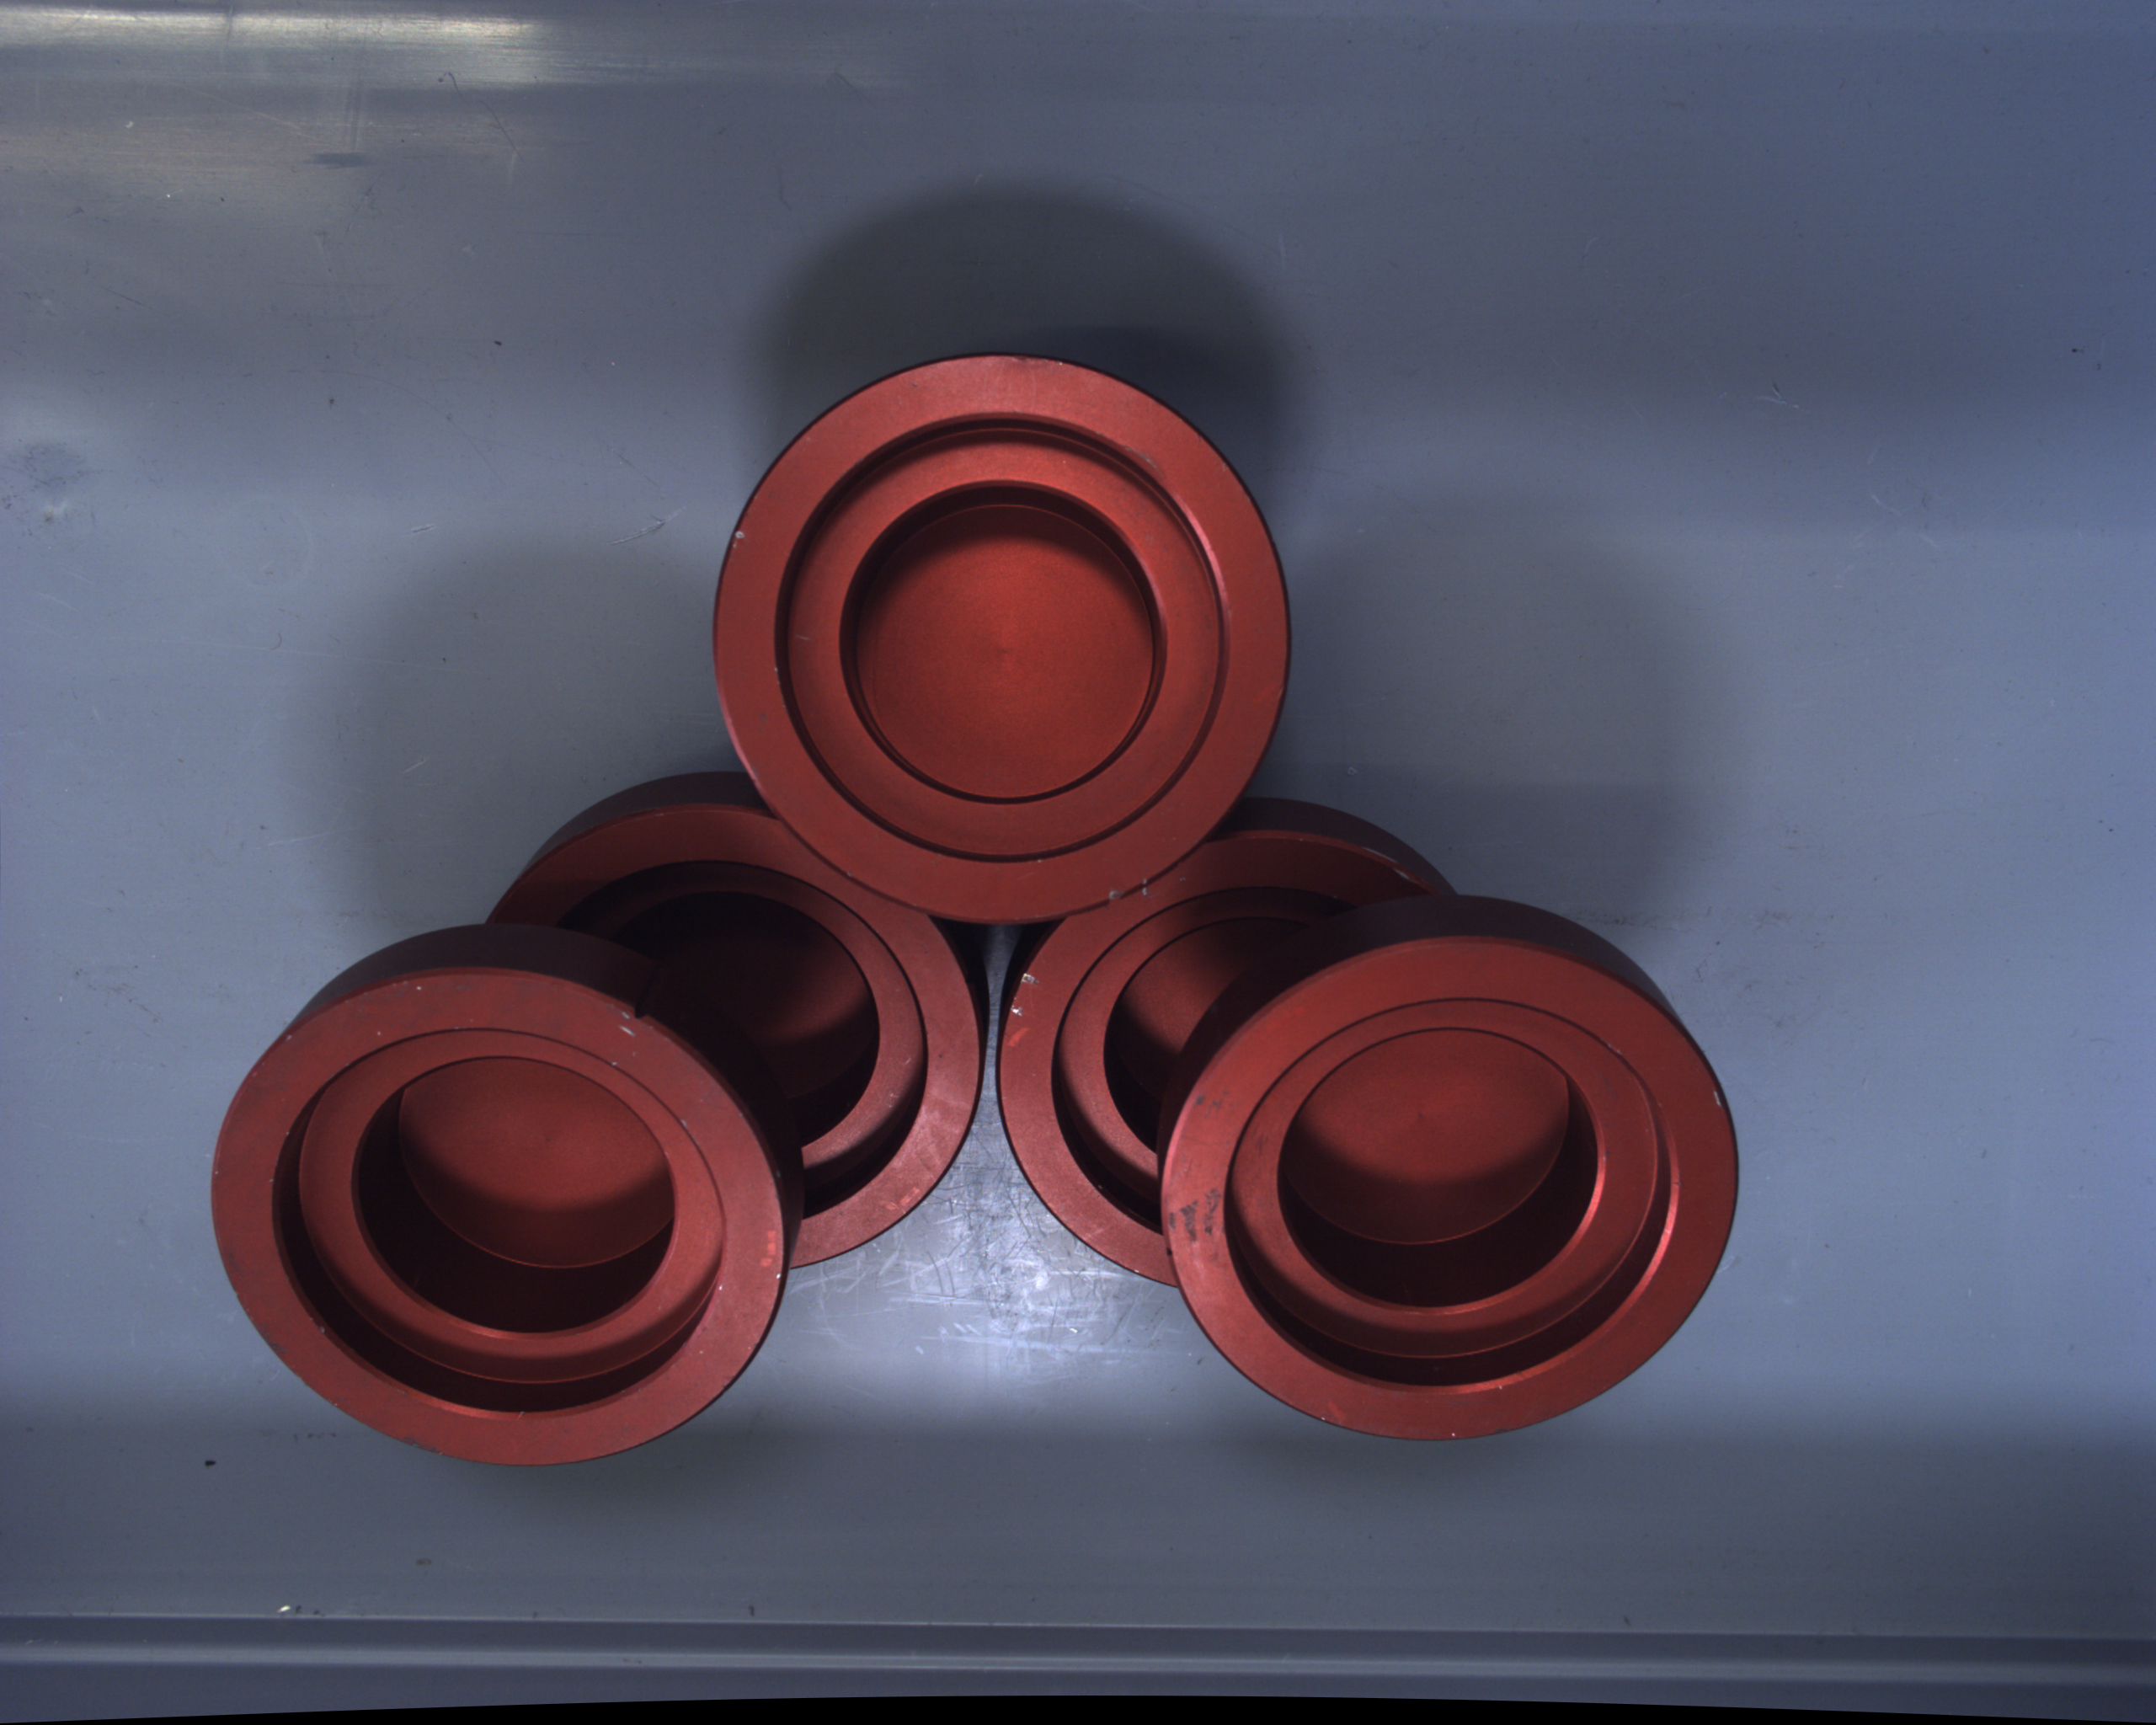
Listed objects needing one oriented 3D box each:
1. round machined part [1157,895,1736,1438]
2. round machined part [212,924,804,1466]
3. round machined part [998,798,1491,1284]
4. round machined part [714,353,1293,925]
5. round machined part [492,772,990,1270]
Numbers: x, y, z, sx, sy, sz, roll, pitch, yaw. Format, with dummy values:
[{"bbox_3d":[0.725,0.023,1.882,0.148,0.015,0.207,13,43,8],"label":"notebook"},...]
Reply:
[{"bbox_3d":[0.063,0.051,0.376,0.099,0.042,0.097,0,110,0],"label":"round machined part"},{"bbox_3d":[-0.098,0.056,0.376,0.099,0.042,0.097,0,110,0],"label":"round machined part"},{"bbox_3d":[0.034,0.033,0.413,0.099,0.042,0.097,0,110,0],"label":"round machined part"},{"bbox_3d":[-0.013,-0.039,0.376,0.099,0.042,0.097,0,92,-2],"label":"round machined part"},{"bbox_3d":[-0.067,0.028,0.410,0.099,0.042,0.097,0,110,0],"label":"round machined part"}]
